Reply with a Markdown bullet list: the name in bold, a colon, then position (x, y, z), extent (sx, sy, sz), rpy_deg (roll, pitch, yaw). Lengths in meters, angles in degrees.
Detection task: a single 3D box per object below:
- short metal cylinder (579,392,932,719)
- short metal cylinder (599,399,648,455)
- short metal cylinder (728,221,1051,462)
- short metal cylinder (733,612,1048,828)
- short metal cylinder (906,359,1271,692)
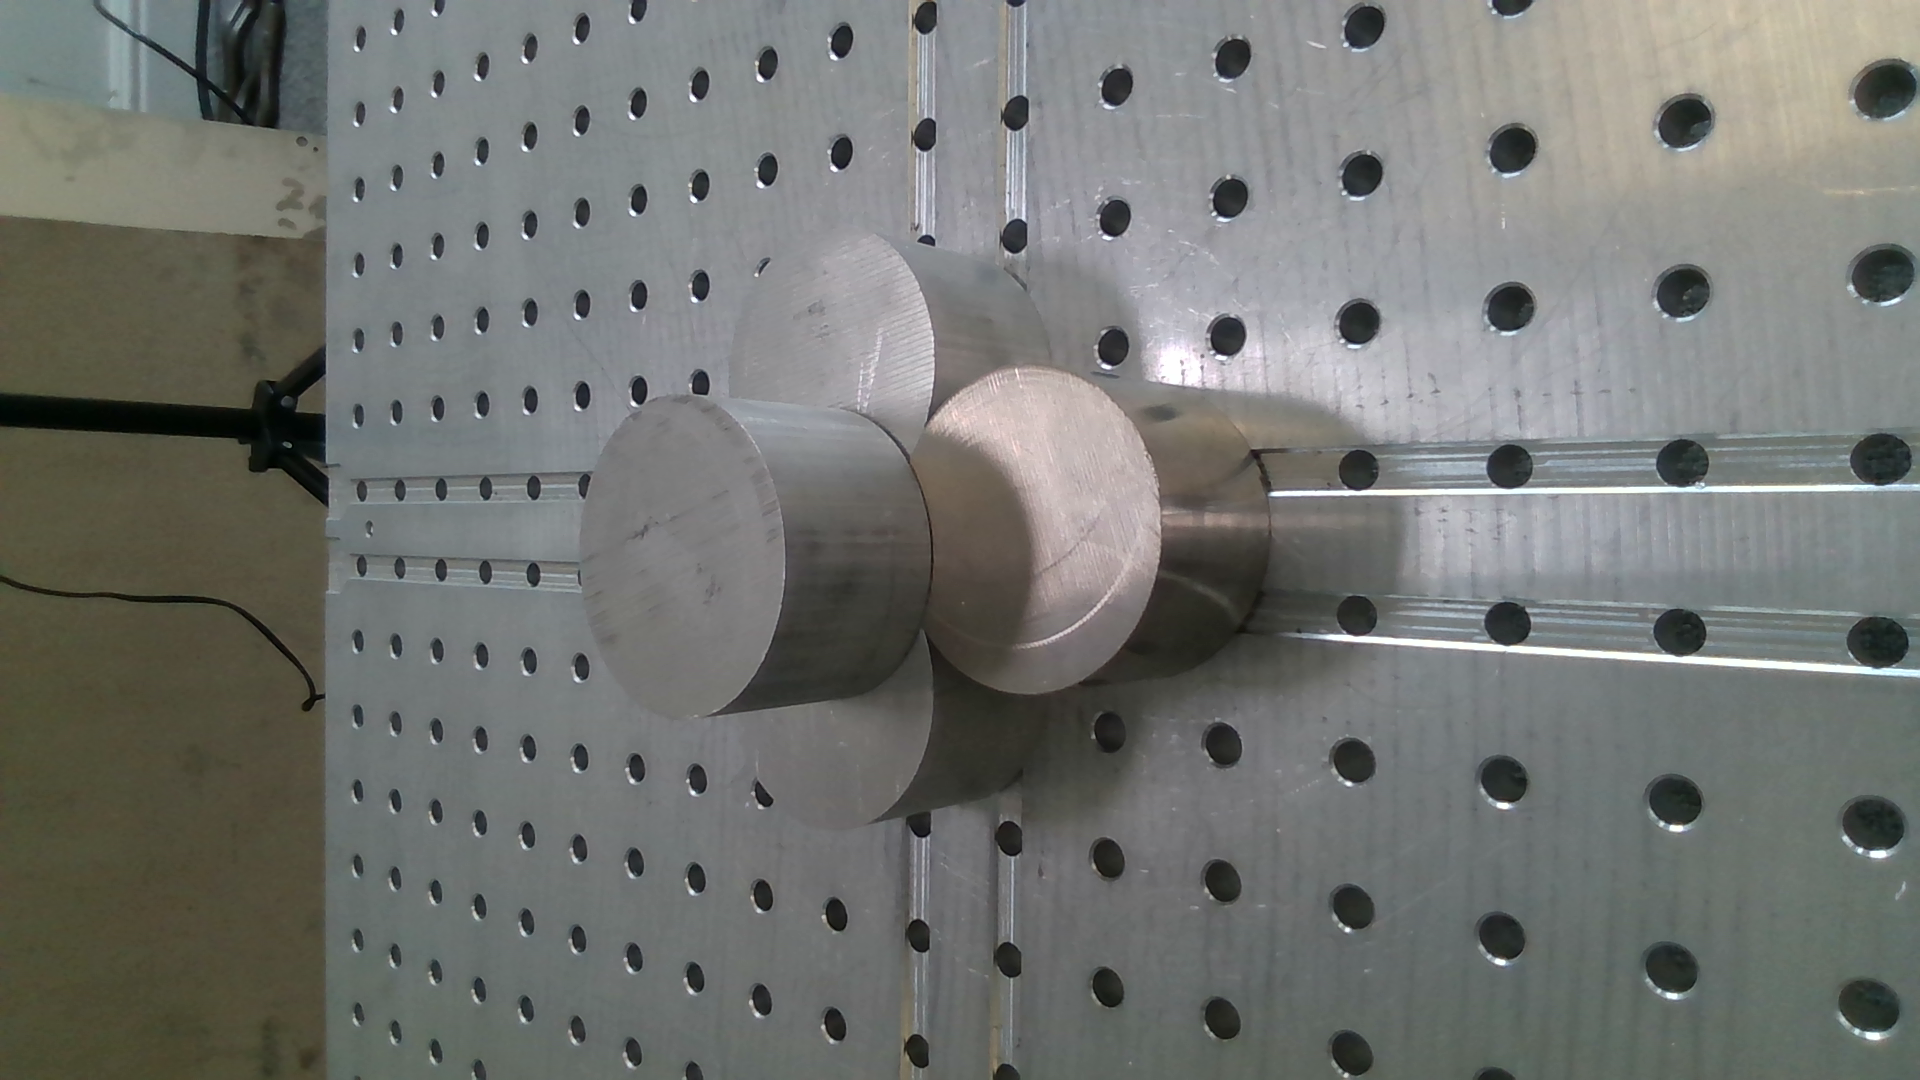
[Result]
- **short metal cylinder**: position (-0.054, 0.004, 0.356), extent (0.080, 0.050, 0.080), rpy_deg (0, 91, 40)
- **short metal cylinder**: position (-0.074, -0.005, 0.439), extent (0.080, 0.050, 0.080), rpy_deg (1, 91, 38)
- **short metal cylinder**: position (-0.021, -0.047, 0.394), extent (0.080, 0.050, 0.080), rpy_deg (0, 91, 40)
- **short metal cylinder**: position (-0.021, 0.038, 0.395), extent (0.080, 0.050, 0.080), rpy_deg (0, 91, 40)
- **short metal cylinder**: position (0.031, -0.004, 0.351), extent (0.080, 0.050, 0.080), rpy_deg (1, 92, 40)
